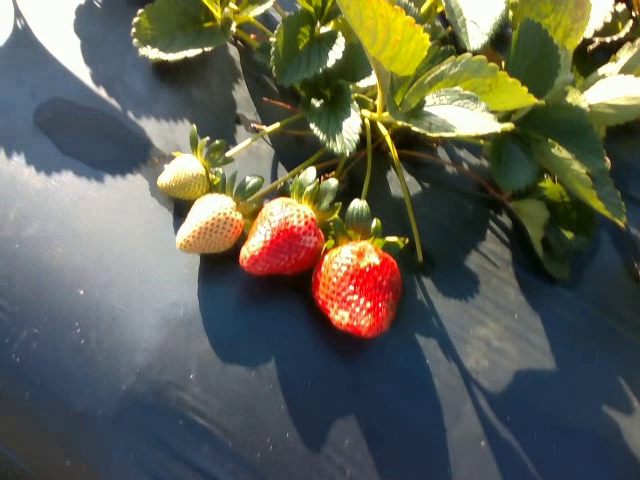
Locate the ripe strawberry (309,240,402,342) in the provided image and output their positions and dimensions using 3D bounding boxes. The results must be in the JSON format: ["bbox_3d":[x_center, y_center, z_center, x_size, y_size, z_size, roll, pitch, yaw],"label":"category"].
[{"bbox_3d":[0.022,0.029,0.304,0.057,0.051,0.067,-16,39,6],"label":"ripe strawberry"}]

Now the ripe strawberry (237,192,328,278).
[{"bbox_3d":[-0.023,0.000,0.311,0.061,0.050,0.044,-34,4,-38],"label":"ripe strawberry"}]
